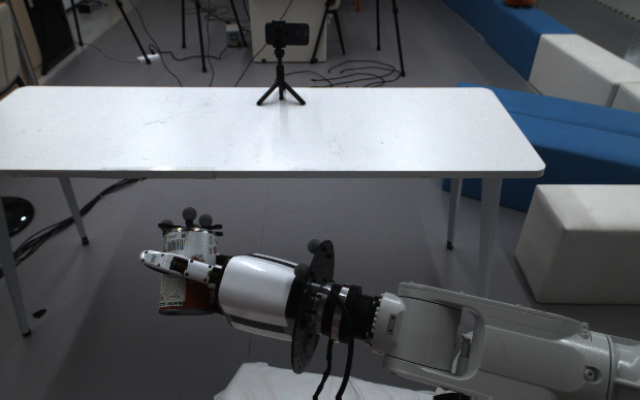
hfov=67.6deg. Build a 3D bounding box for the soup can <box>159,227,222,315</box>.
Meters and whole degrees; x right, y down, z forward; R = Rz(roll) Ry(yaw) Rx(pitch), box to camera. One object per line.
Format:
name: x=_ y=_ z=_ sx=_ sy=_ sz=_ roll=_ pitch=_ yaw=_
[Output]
soup can: x=-0.163 y=0.092 z=0.609 sx=0.067 sy=0.067 sz=0.101 roll=-1 pitch=71 yaw=-5
